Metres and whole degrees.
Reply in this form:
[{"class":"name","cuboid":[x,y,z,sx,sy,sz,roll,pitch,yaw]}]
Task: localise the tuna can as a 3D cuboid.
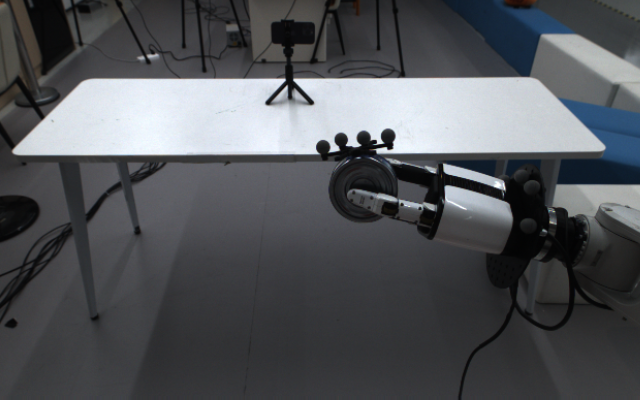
[{"class":"tuna can","cuboid":[0.058,-0.010,0.600,0.085,0.085,0.034,6,18,5]}]
